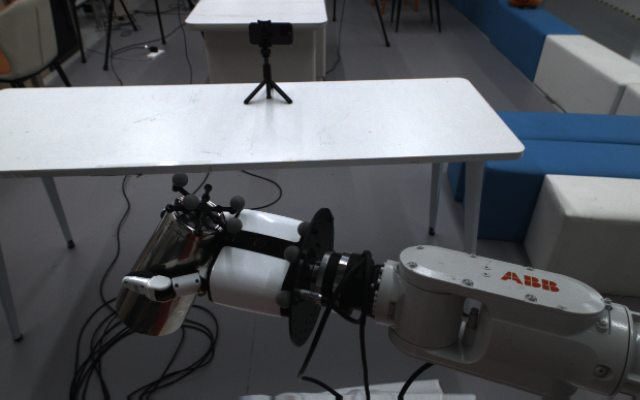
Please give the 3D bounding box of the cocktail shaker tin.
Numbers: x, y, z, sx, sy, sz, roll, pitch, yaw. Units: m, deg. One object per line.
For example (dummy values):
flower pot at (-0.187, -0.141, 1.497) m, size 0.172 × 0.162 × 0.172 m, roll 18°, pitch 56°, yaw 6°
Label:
cocktail shaker tin at (-0.176, 0.073, 0.586) m, size 0.093 × 0.170 × 0.093 m, roll 26°, pitch 32°, yaw -18°
